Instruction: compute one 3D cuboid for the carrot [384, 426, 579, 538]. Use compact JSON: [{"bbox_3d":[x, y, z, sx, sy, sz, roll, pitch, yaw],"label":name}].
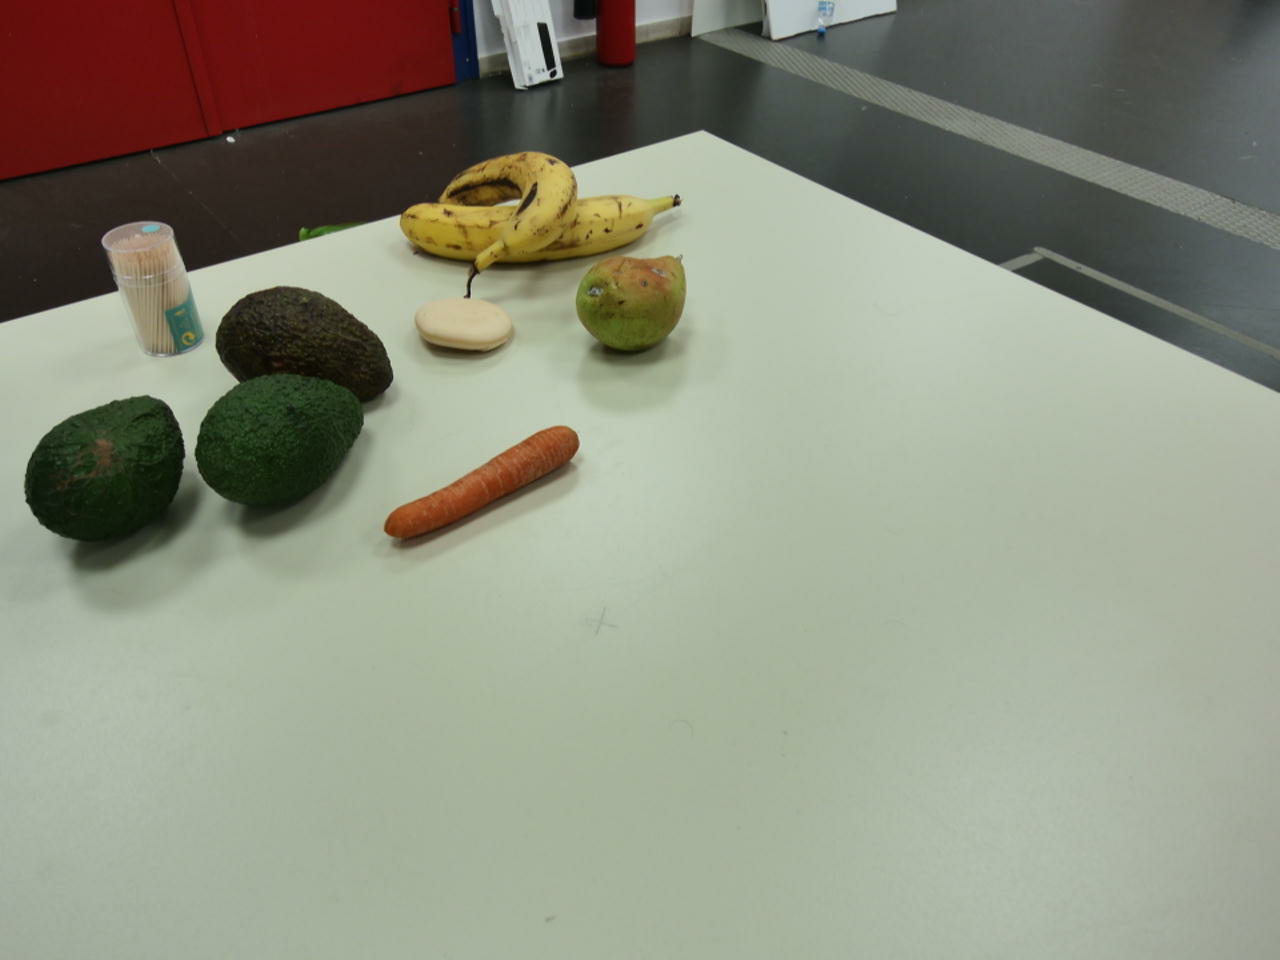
[{"bbox_3d":[-0.083,0.000,0.538,0.122,0.023,0.024,-27,46,-31],"label":"carrot"}]
